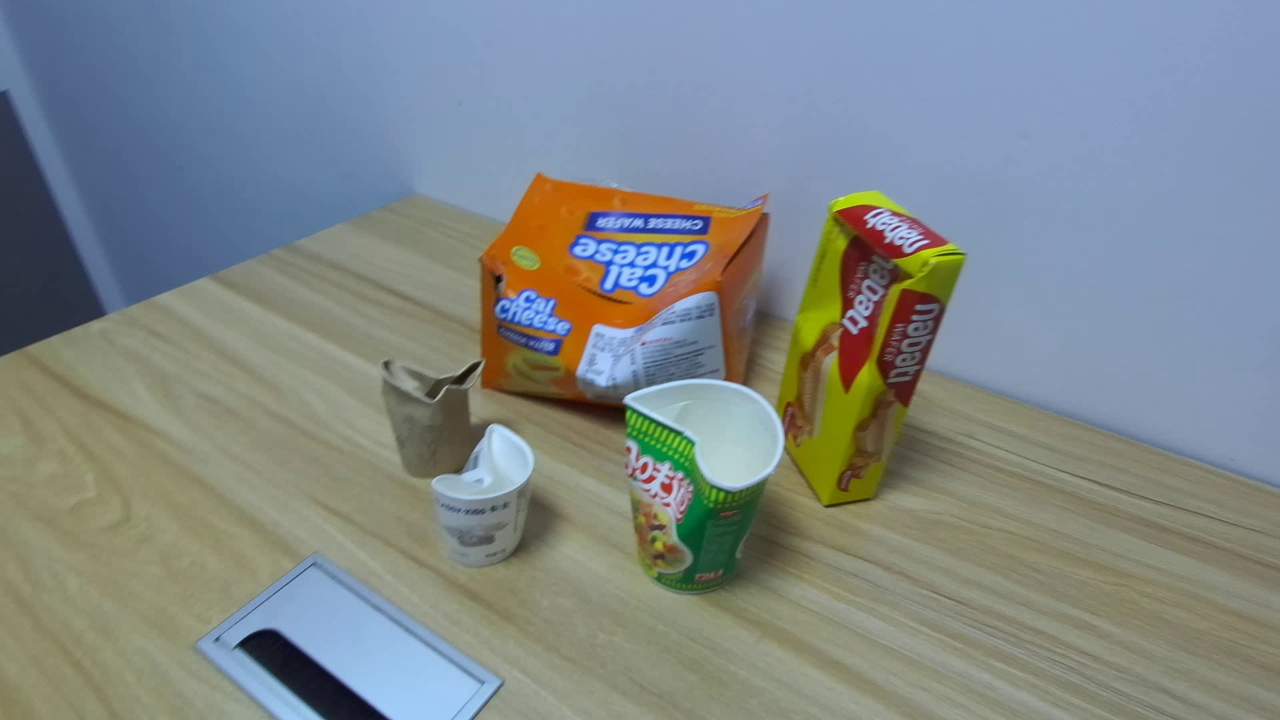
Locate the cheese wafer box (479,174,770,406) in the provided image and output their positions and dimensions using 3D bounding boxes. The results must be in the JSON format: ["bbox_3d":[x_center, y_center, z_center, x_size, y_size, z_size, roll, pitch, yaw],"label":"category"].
[{"bbox_3d":[-0.012,-0.051,0.590,0.218,0.145,0.191,10,36,9],"label":"cheese wafer box"}]

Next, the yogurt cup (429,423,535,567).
[{"bbox_3d":[-0.099,0.090,0.453,0.067,0.070,0.067,2,35,-1],"label":"yogurt cup"}]

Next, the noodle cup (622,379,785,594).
[{"bbox_3d":[0.038,0.083,0.433,0.087,0.109,0.093,-7,37,-13],"label":"noodle cup"}]

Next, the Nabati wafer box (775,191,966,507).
[{"bbox_3d":[0.144,-0.002,0.483,0.042,0.203,0.096,-6,38,-16],"label":"Nabati wafer box"}]

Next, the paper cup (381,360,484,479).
[{"bbox_3d":[-0.149,0.037,0.516,0.066,0.083,0.058,24,38,26],"label":"paper cup"}]
